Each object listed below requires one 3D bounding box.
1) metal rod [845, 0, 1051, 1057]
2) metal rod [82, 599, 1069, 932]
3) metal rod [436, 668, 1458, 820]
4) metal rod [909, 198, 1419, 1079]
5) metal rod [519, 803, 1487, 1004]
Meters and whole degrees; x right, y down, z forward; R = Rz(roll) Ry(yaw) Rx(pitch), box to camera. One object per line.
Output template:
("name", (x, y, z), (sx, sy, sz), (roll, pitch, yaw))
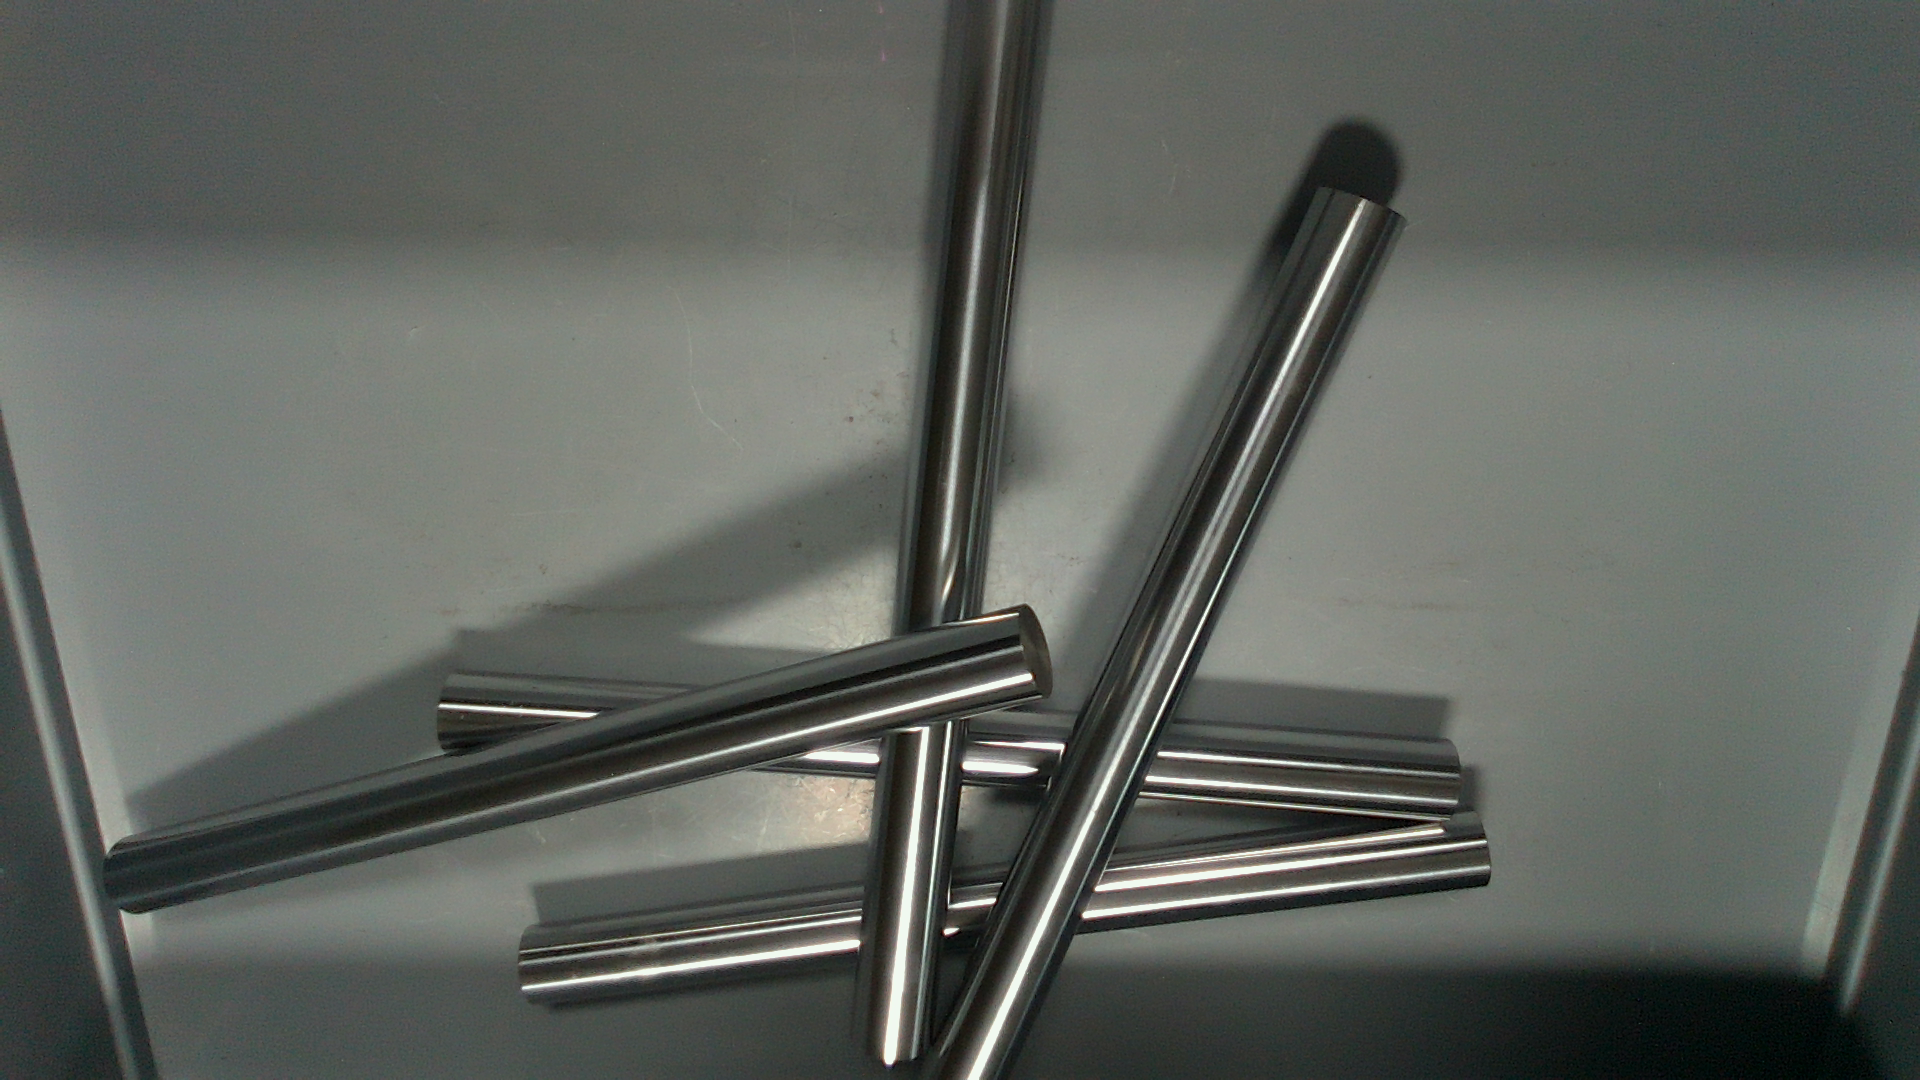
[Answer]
("metal rod", (-0.005, 0.002, 0.375), (0.025, 0.025, 0.300), (6, 104, -2))
("metal rod", (-0.116, 0.067, 0.390), (0.299, 0.025, 0.025), (-16, 110, 11))
("metal rod", (-0.002, 0.062, 0.415), (0.300, 0.025, 0.025), (4, 110, -2))
("metal rod", (0.049, 0.050, 0.390), (0.025, 0.025, 0.300), (23, 101, -8))
("metal rod", (0.011, 0.115, 0.435), (0.300, 0.025, 0.025), (-8, 110, 3))
